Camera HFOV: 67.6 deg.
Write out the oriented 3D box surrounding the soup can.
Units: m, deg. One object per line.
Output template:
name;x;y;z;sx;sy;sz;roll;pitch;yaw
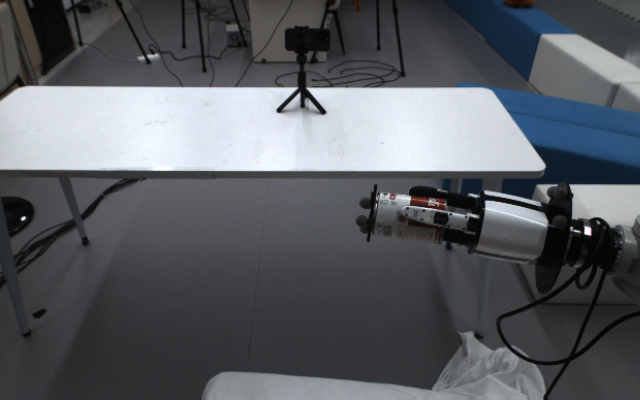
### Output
soup can;0.135;0.025;0.721;0.101;0.067;0.067;6;35;10
